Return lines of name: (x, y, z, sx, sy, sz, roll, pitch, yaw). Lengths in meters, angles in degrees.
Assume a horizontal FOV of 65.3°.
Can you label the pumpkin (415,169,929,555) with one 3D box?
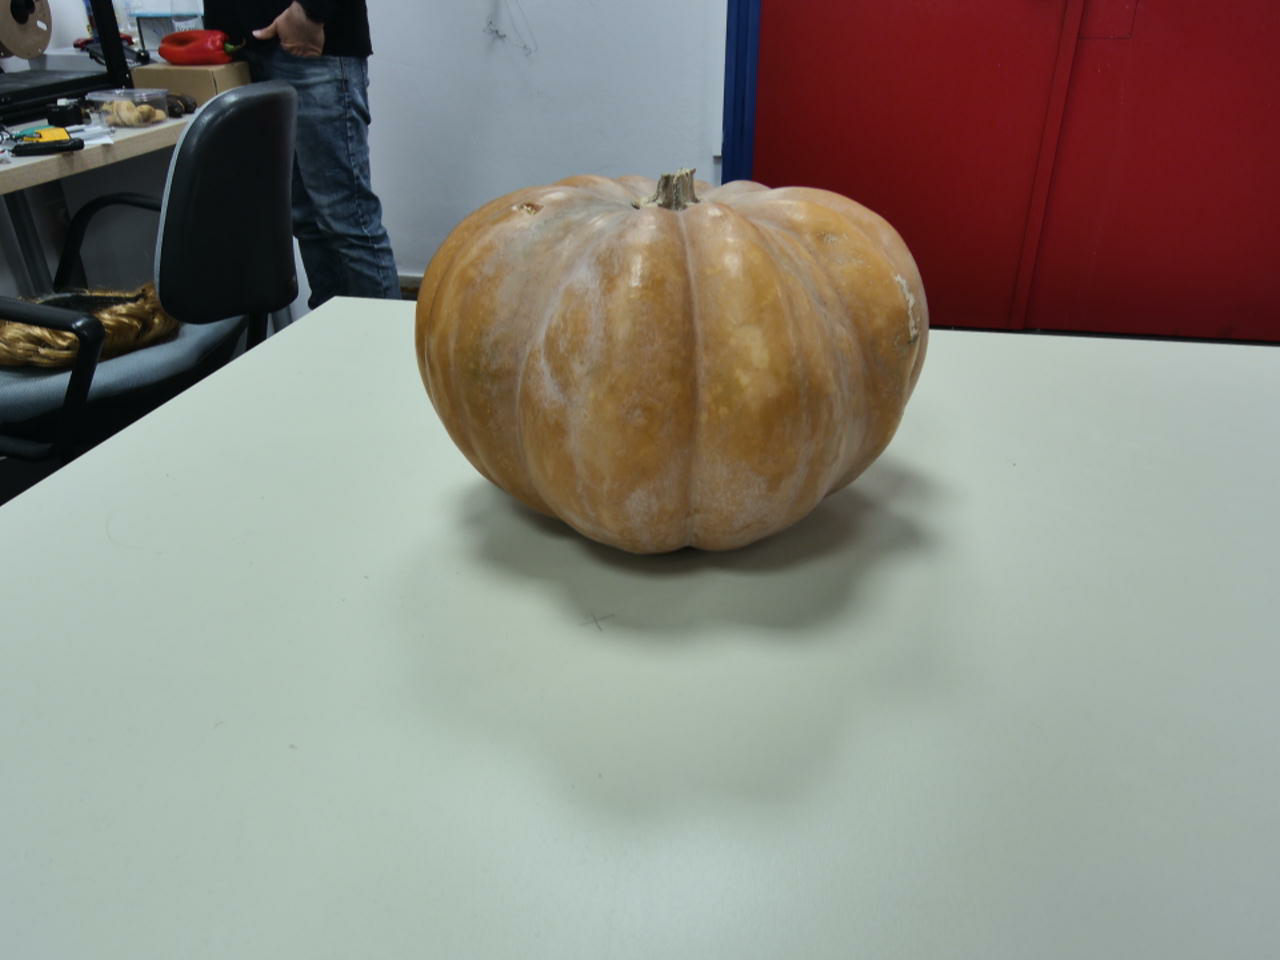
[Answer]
pumpkin: (0.015, -0.072, 0.536, 0.277, 0.181, 0.277, 0, 26, 0)
